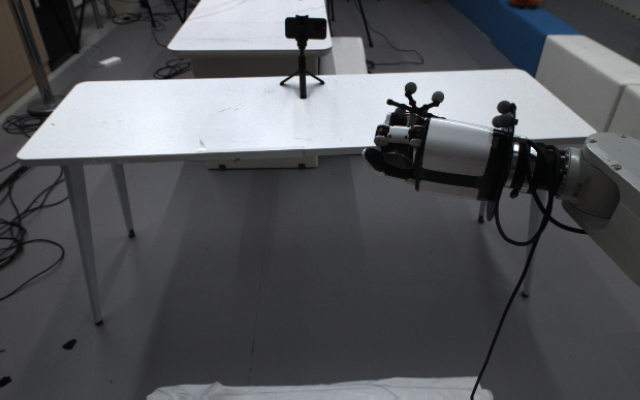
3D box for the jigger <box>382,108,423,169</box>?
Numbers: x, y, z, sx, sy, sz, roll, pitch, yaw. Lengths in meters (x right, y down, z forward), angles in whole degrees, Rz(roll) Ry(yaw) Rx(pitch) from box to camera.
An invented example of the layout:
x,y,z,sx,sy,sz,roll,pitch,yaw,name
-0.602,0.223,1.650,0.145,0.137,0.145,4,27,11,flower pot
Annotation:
x,y,z,sx,sy,sz,roll,pitch,yaw,name
0.121,-0.087,0.683,0.043,0.043,0.071,16,70,19,jigger
